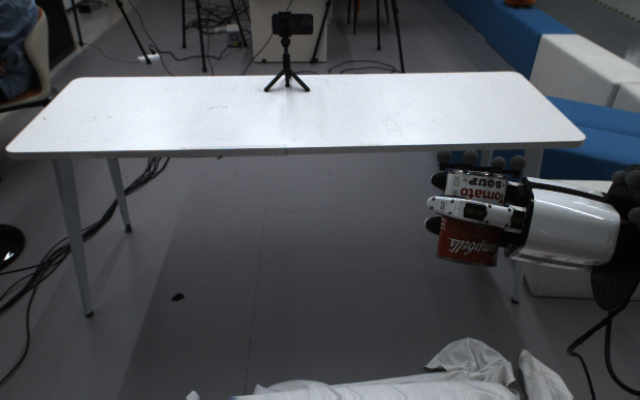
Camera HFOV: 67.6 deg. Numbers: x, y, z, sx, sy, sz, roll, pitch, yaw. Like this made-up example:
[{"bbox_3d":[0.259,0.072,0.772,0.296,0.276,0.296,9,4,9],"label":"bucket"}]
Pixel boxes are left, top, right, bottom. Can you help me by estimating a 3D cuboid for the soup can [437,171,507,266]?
[{"bbox_3d":[0.176,0.020,0.553,0.067,0.101,0.067,7,3,0],"label":"soup can"}]
